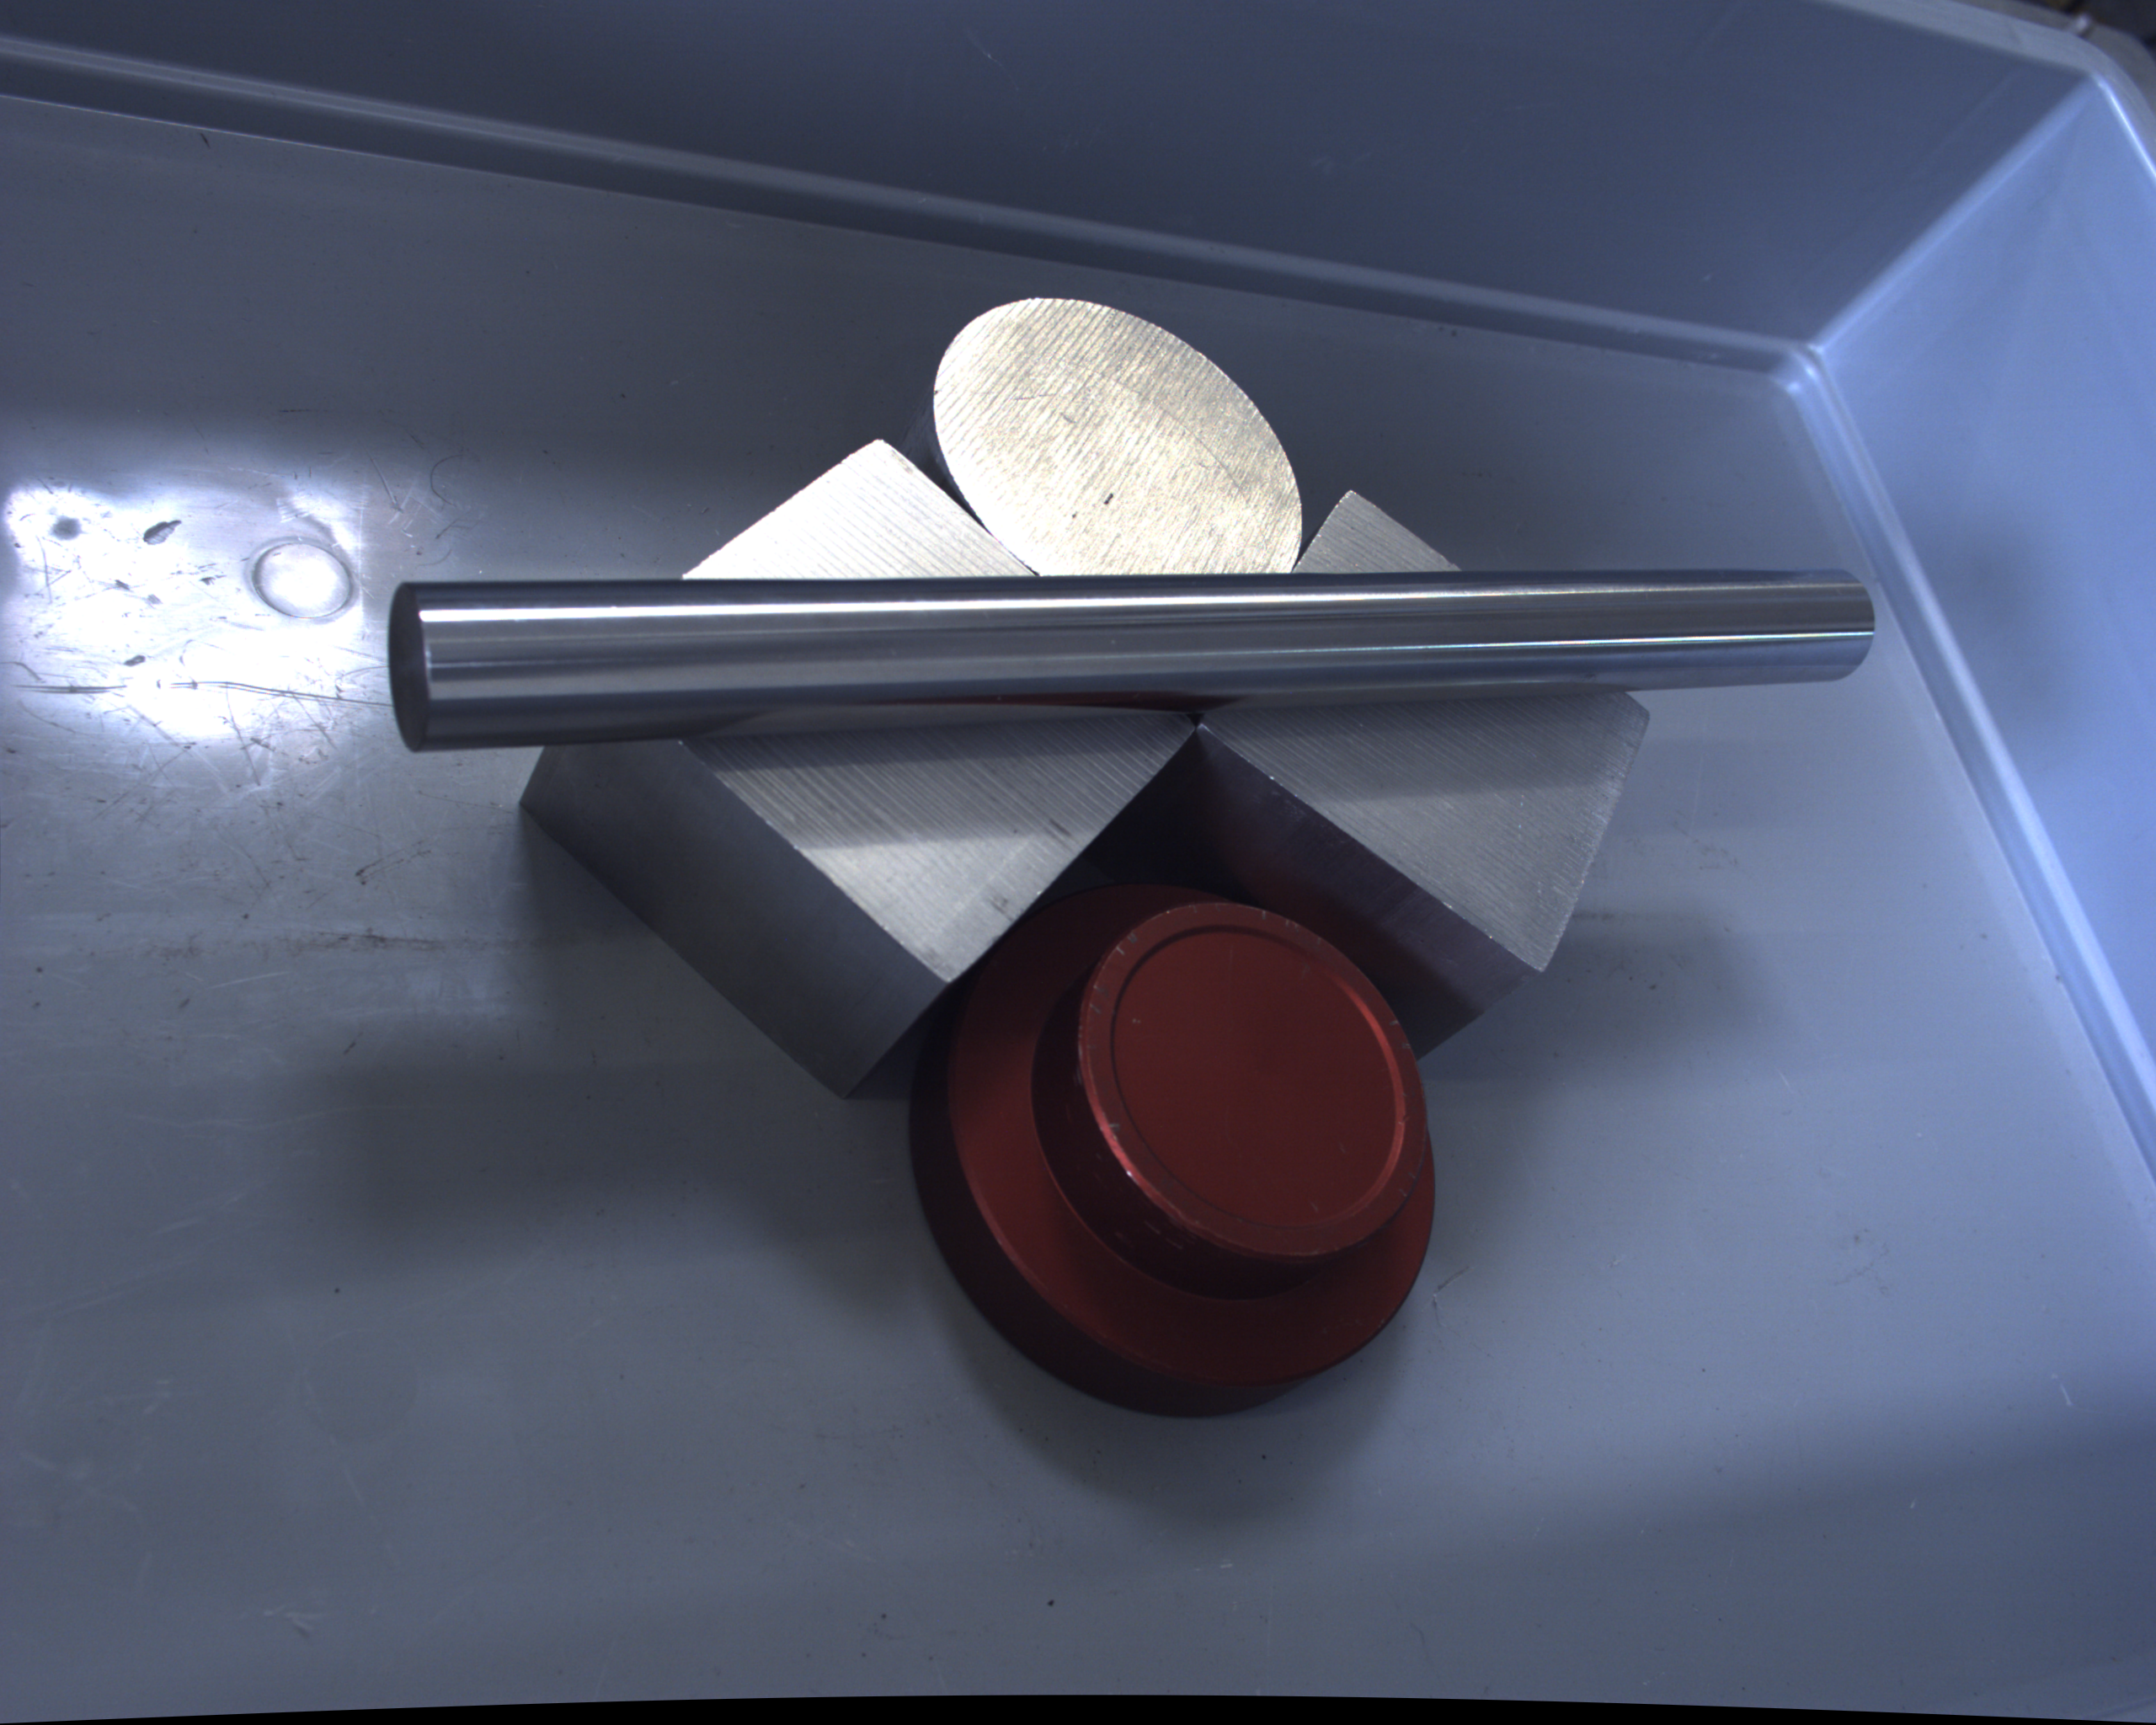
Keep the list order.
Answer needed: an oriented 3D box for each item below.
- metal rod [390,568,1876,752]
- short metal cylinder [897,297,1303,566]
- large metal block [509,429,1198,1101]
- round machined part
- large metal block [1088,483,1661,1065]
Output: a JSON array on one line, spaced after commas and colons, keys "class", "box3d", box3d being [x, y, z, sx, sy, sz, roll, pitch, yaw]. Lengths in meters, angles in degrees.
[{"class": "metal rod", "box3d": [0.033, -0.040, 0.379, 0.303, 0.025, 0.025, -5, 64, -30]}, {"class": "short metal cylinder", "box3d": [-0.001, -0.068, 0.428, 0.081, 0.050, 0.080, 14, 56, -21]}, {"class": "large metal block", "box3d": [-0.040, -0.019, 0.377, 0.080, 0.050, 0.080, 44, 51, 0]}, {"class": "round machined part", "box3d": [0.023, 0.046, 0.376, 0.099, 0.042, 0.098, 14, 56, -21]}, {"class": "large metal block", "box3d": [0.062, -0.017, 0.428, 0.080, 0.050, 0.080, 36, 52, -4]}]
